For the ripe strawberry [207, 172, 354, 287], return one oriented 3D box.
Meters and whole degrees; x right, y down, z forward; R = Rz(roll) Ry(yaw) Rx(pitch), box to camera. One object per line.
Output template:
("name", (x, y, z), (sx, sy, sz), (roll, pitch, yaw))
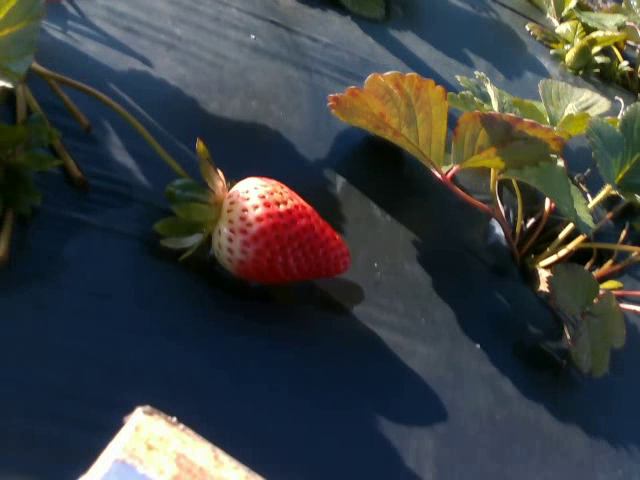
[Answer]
("ripe strawberry", (-0.010, -0.001, 0.210), (0.063, 0.045, 0.044), (21, 5, -5))
